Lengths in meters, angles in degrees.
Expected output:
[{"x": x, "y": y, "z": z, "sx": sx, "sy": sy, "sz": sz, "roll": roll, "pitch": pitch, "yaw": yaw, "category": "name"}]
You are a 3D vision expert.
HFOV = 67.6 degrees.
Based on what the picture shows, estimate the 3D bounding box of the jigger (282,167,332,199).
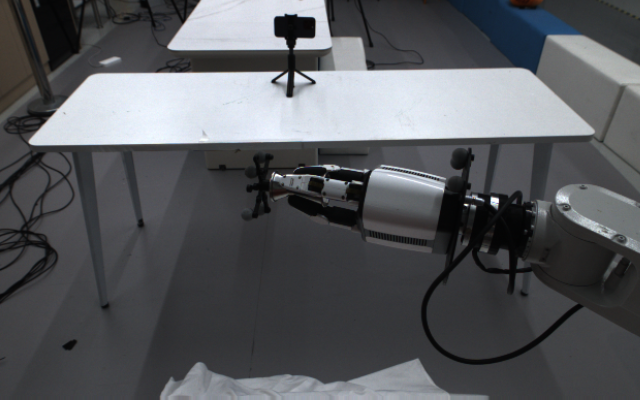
[{"x": -0.018, "y": -0.018, "z": 0.600, "sx": 0.071, "sy": 0.043, "sz": 0.043, "roll": 4, "pitch": 34, "yaw": 14, "category": "jigger"}]
